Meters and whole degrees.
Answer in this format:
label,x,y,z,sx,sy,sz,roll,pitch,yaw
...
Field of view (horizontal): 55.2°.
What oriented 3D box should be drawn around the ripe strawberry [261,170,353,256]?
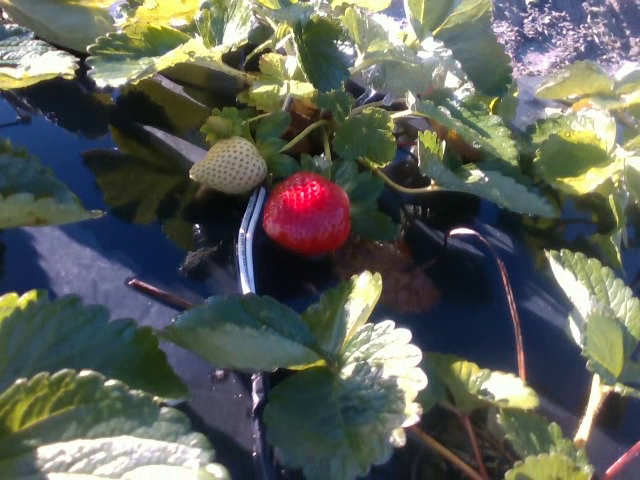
label,x,y,z,sx,sy,sz,roll,pitch,yaw
ripe strawberry,-0.003,-0.017,0.332,0.040,0.063,0.080,-27,-2,31
